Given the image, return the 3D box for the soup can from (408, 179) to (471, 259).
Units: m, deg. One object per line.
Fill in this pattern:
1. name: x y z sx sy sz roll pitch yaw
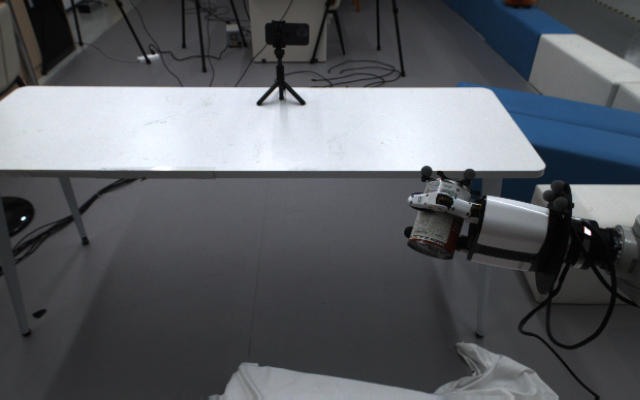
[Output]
1. soup can: 0.177 0.027 0.708 0.067 0.067 0.101 15 74 18
